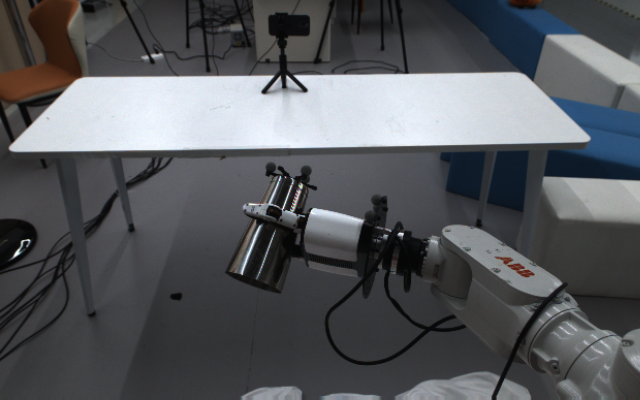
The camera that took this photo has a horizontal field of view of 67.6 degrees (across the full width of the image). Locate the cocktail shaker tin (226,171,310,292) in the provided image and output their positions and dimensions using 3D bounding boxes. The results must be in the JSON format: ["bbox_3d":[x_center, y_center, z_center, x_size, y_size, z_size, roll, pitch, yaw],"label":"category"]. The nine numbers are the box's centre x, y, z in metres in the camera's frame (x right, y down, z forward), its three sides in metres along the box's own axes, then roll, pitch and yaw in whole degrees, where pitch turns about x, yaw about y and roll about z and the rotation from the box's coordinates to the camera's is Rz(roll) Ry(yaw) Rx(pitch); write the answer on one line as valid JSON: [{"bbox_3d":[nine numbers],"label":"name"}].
[{"bbox_3d":[-0.078,0.050,0.764,0.093,0.093,0.170,14,70,16],"label":"cocktail shaker tin"}]
